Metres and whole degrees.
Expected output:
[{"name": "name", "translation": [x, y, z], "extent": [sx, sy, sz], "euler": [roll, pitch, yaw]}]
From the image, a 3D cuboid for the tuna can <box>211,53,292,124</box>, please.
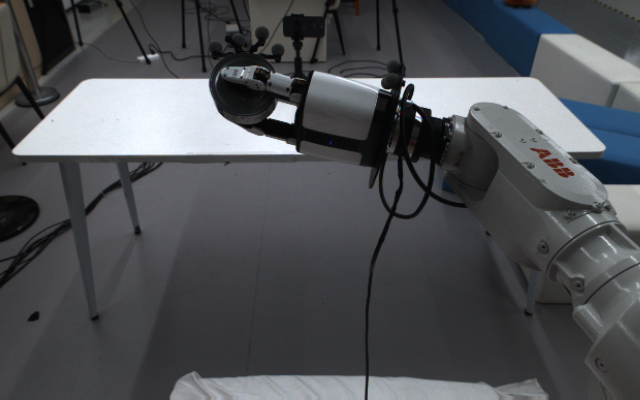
[{"name": "tuna can", "translation": [-0.092, -0.140, 0.609], "extent": [0.085, 0.034, 0.085], "euler": [1, 72, -4]}]
